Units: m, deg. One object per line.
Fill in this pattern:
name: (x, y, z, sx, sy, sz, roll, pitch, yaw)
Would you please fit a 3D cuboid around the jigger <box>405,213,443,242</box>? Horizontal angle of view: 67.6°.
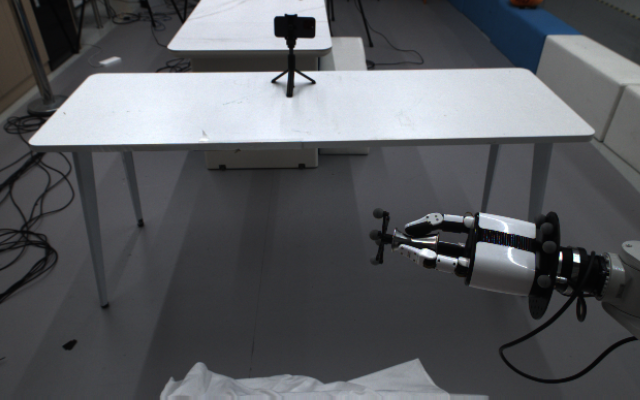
jigger: (0.155, 0.064, 0.754, 0.071, 0.043, 0.043, 8, 35, 16)
